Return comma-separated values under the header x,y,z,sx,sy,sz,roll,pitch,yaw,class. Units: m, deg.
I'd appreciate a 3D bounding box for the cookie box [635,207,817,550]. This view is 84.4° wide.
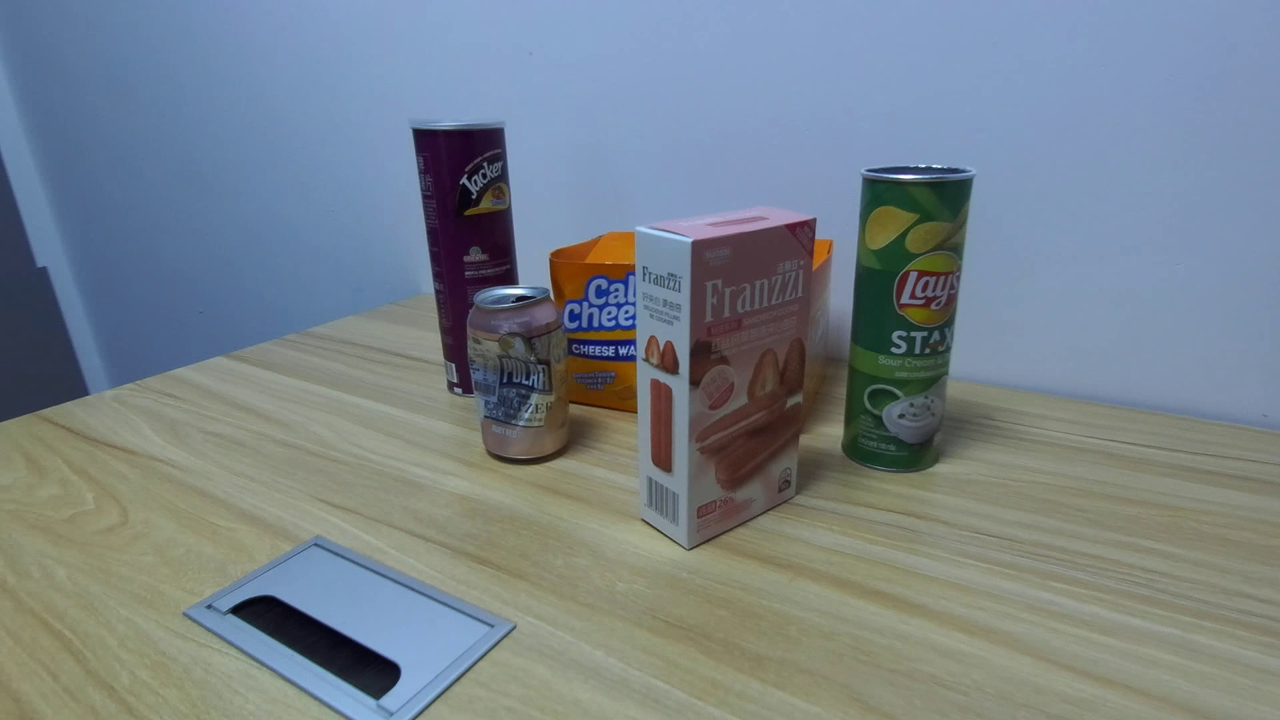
x,y,z,sx,sy,sz,roll,pitch,yaw,class
0.050,0.010,0.418,0.096,0.185,0.048,-17,27,-35,cookie box

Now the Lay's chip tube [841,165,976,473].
x,y,z,sx,sy,sz,roll,pitch,yaw,class
0.180,-0.028,0.483,0.071,0.202,0.071,-2,21,1,Lay's chip tube

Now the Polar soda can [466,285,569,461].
x,y,z,sx,sy,sz,roll,pitch,yaw,class
-0.088,0.012,0.523,0.067,0.122,0.074,-11,22,-22,Polar soda can

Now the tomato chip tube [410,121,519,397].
x,y,z,sx,sy,sz,roll,pitch,yaw,class
-0.150,-0.089,0.636,0.078,0.234,0.078,-2,19,1,tomato chip tube
